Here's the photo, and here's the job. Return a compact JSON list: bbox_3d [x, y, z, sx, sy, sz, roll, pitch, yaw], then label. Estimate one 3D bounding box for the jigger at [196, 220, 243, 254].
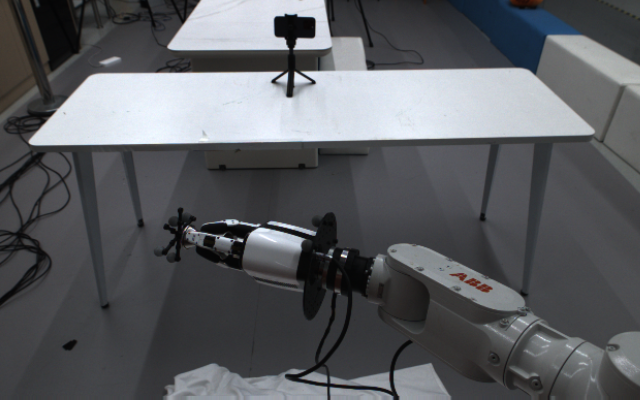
[{"bbox_3d":[-0.169,0.060,0.750,0.071,0.043,0.043,10,35,16],"label":"jigger"}]
